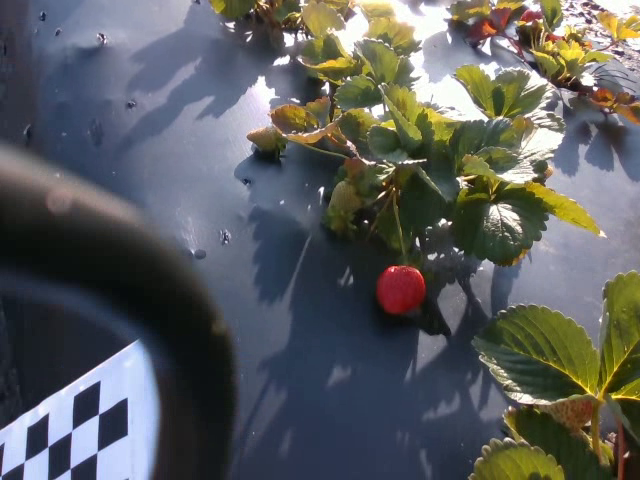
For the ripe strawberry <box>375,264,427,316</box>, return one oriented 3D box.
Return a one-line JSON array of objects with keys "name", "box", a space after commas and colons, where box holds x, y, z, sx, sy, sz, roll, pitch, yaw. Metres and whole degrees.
[{"name": "ripe strawberry", "box": [0.049, 0.034, 0.366, 0.030, 0.033, 0.045, -9, 28, 38]}]
